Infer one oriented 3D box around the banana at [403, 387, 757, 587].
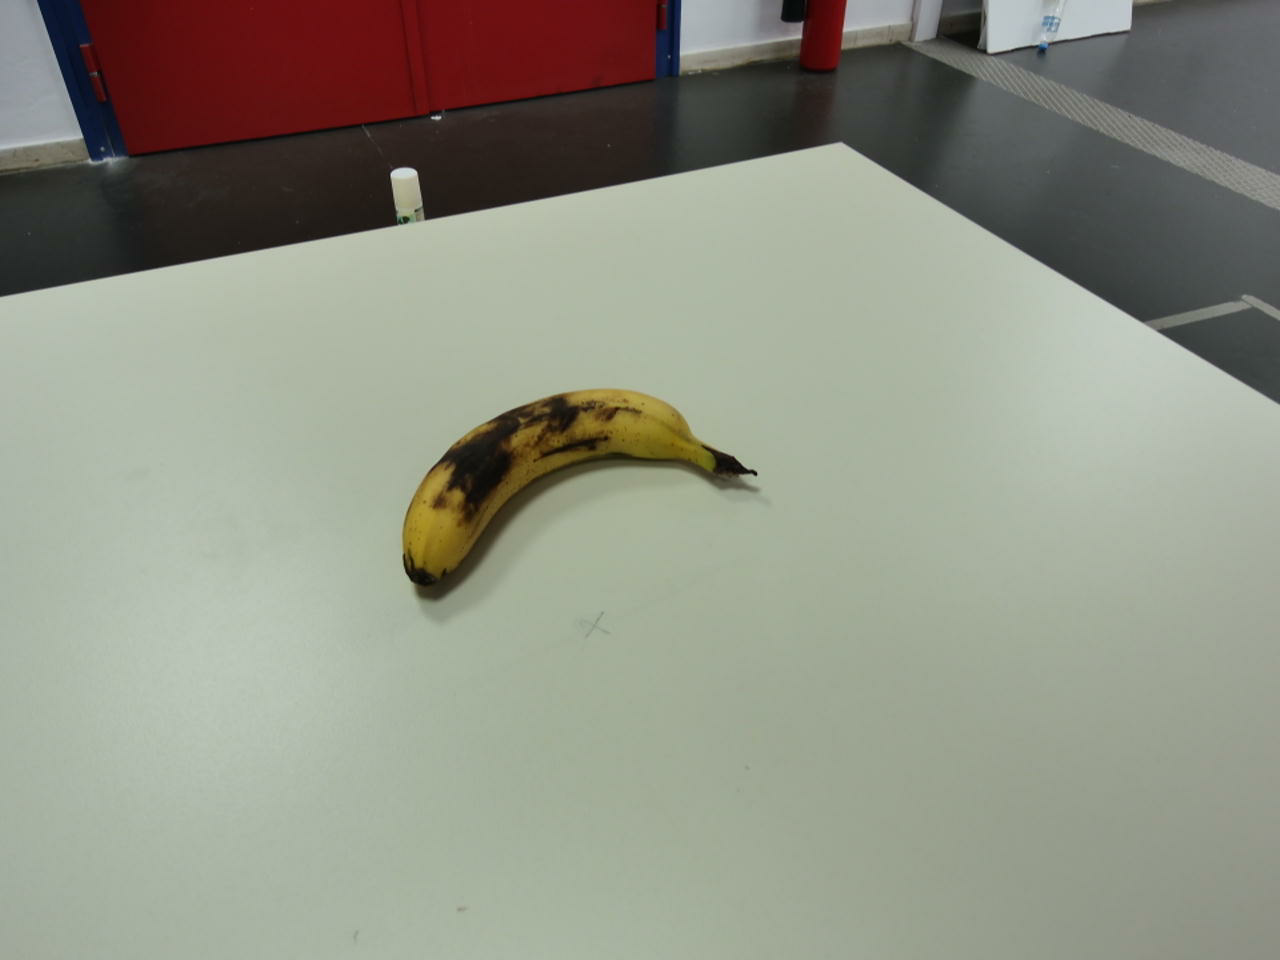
[{"bbox_3d":[-0.044,-0.008,0.526,0.187,0.039,0.094,-17,42,-22],"label":"banana"}]
